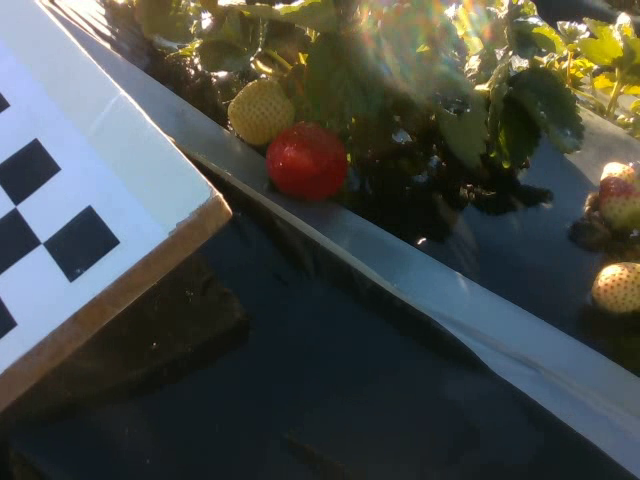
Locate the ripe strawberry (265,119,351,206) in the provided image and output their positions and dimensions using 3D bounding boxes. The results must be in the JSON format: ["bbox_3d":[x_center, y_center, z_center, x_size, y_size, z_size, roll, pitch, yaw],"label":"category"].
[{"bbox_3d":[-0.008,-0.041,0.302,0.045,0.049,0.064,-21,3,4],"label":"ripe strawberry"}]
